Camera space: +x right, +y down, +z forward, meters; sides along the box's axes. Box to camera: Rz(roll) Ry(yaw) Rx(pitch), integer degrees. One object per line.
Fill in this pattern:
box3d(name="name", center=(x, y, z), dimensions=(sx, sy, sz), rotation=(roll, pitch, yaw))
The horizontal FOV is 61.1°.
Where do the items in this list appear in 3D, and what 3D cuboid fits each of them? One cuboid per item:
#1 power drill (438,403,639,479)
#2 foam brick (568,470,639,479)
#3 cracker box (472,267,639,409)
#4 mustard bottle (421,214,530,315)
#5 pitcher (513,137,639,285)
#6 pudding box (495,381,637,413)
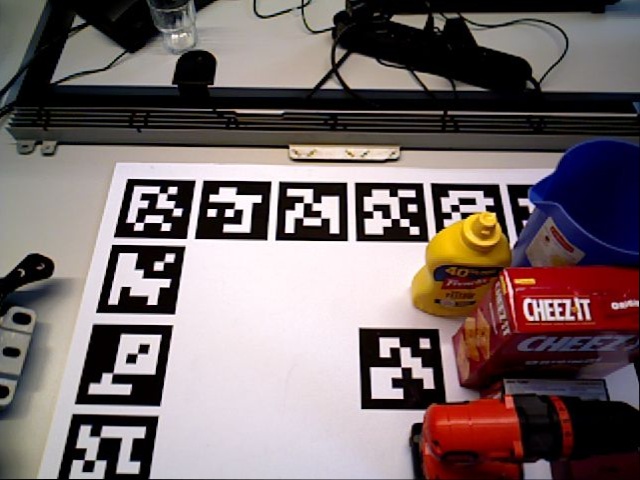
box3d(name="power drill", center=(0.189, 0.194, 0.479), dimensions=(0.184, 0.191, 0.056), rotation=(0, 57, -1))
box3d(name="foam brick", center=(0.306, 0.251, 0.565), dimensions=(0.078, 0.052, 0.052), rotation=(3, 62, 2))
box3d(name="cracker box", center=(0.259, 0.108, 0.544), dimensions=(0.164, 0.217, 0.071), rotation=(-2, 58, 1))
box3d(name="mustard bottle", center=(0.175, 0.022, 0.599), dimensions=(0.096, 0.195, 0.057), rotation=(13, 62, 7))
box3d(name="pitcher", center=(0.307, 0.018, 0.587), dimensions=(0.188, 0.247, 0.131), rotation=(6, 60, 5))
box3d(name="pudding box", center=(0.251, 0.177, 0.568), dimensions=(0.113, 0.091, 0.038), rotation=(1, 59, 4))
